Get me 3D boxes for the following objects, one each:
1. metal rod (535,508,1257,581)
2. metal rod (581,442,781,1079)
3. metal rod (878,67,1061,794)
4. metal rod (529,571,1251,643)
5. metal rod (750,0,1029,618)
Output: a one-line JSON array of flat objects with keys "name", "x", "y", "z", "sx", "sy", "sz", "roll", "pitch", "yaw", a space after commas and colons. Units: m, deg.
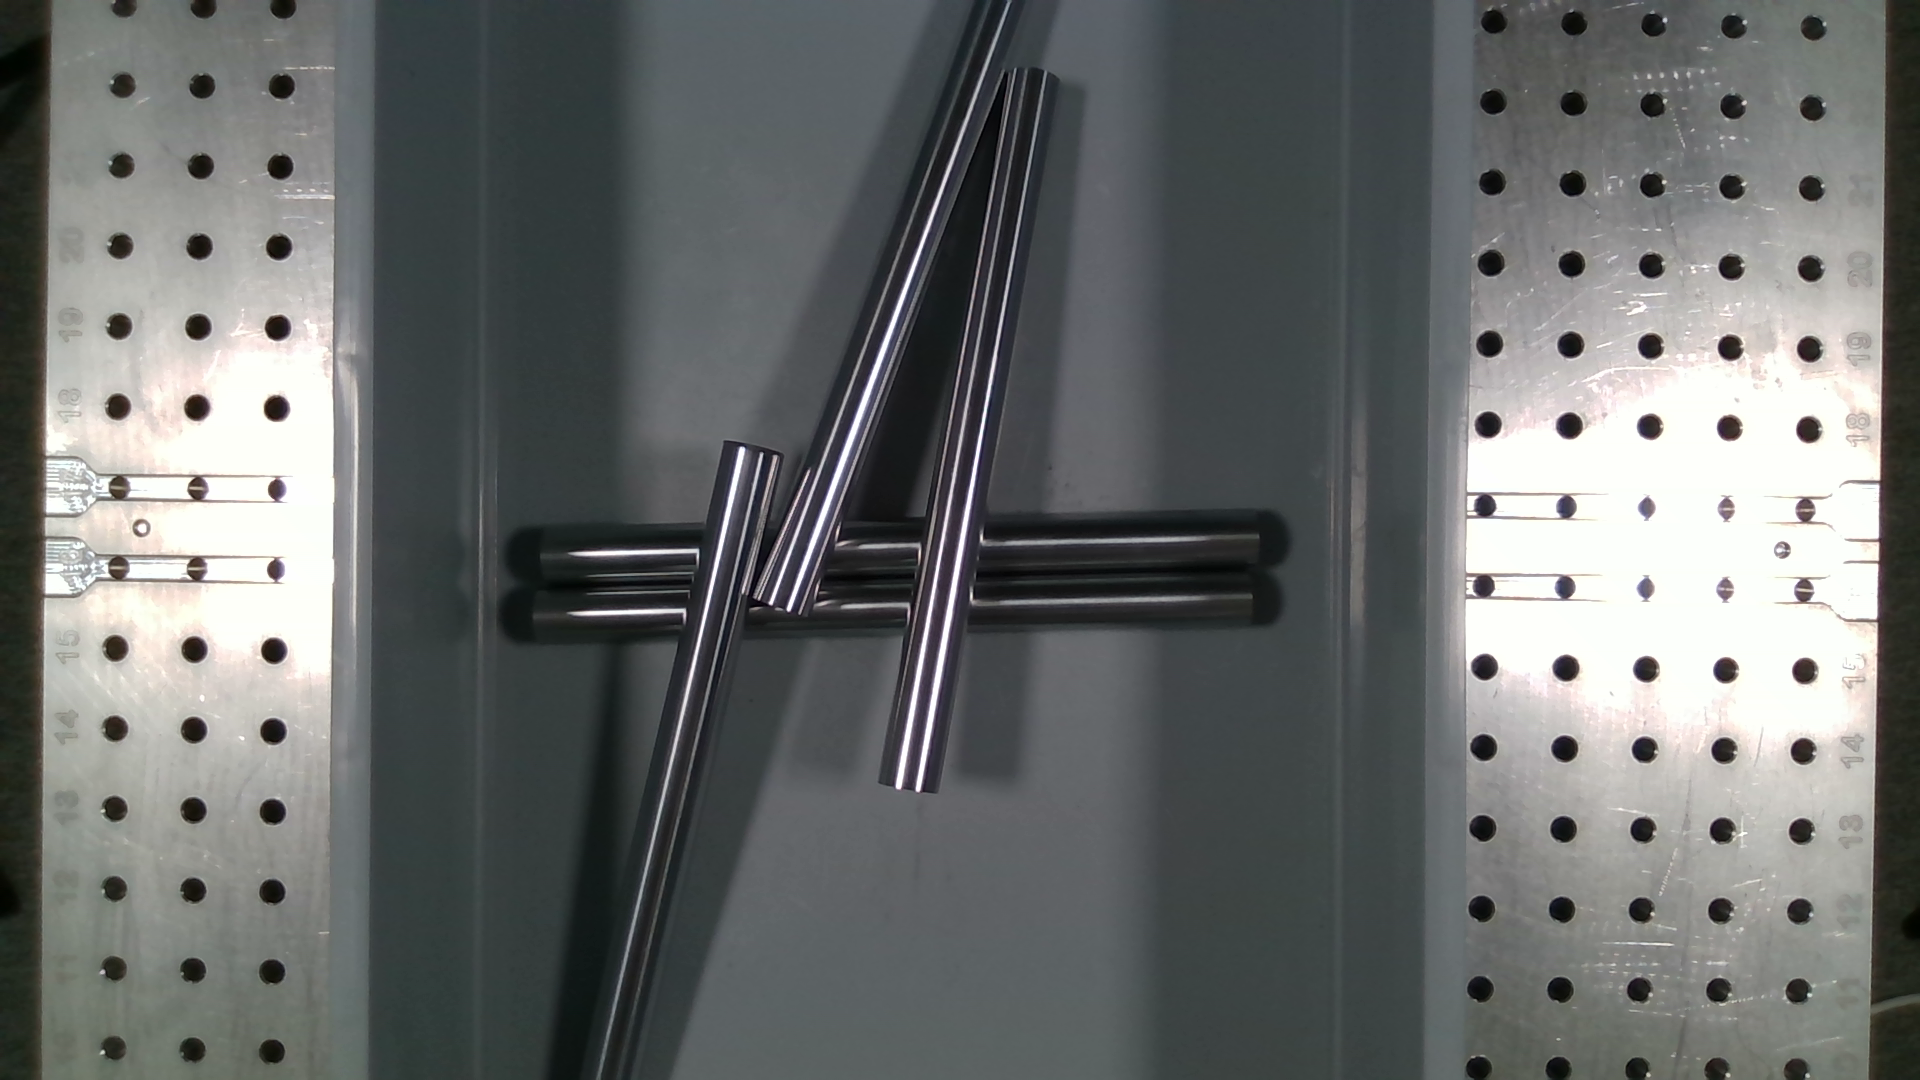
[{"name": "metal rod", "x": -0.026, "y": 0.002, "z": 0.584, "sx": 0.300, "sy": 0.025, "sz": 0.025, "roll": -1, "pitch": 90, "yaw": 0}, {"name": "metal rod", "x": -0.119, "y": 0.108, "z": 0.570, "sx": 0.025, "sy": 0.025, "sz": 0.300, "roll": 14, "pitch": 96, "yaw": 0}, {"name": "metal rod", "x": 0.005, "y": -0.048, "z": 0.566, "sx": 0.025, "sy": 0.025, "sz": 0.300, "roll": 10, "pitch": 83, "yaw": 0}, {"name": "metal rod", "x": -0.029, "y": 0.028, "z": 0.585, "sx": 0.300, "sy": 0.025, "sz": 0.025, "roll": -1, "pitch": 90, "yaw": 0}, {"name": "metal rod", "x": -0.024, "y": -0.113, "z": 0.572, "sx": 0.025, "sy": 0.025, "sz": 0.300, "roll": 19, "pitch": 85, "yaw": 0}]
